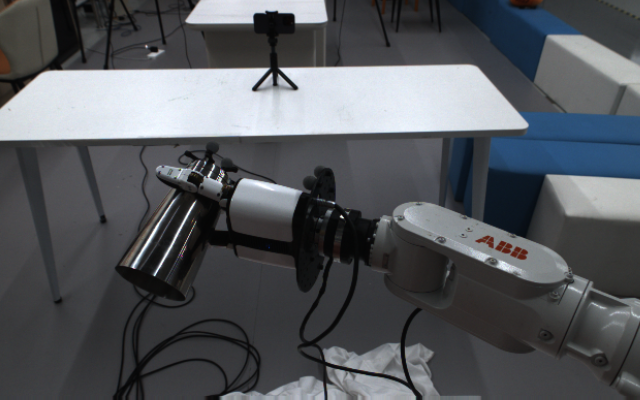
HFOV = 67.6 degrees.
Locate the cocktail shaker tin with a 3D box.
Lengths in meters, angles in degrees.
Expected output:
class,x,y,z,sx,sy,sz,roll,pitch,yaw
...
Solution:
class,x,y,z,sx,sy,sz,roll,pitch,yaw
cocktail shaker tin,-0.179,0.031,0.628,0.093,0.093,0.170,13,59,15
